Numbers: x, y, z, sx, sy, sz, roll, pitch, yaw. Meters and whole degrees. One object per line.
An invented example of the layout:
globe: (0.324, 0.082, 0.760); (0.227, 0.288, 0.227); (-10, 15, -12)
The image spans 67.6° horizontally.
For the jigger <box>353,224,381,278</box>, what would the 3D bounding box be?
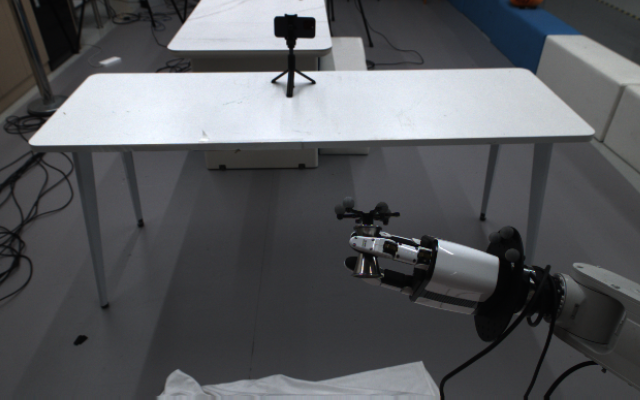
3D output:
jigger: (0.064, 0.069, 0.660); (0.043, 0.043, 0.071); (3, 76, 1)
